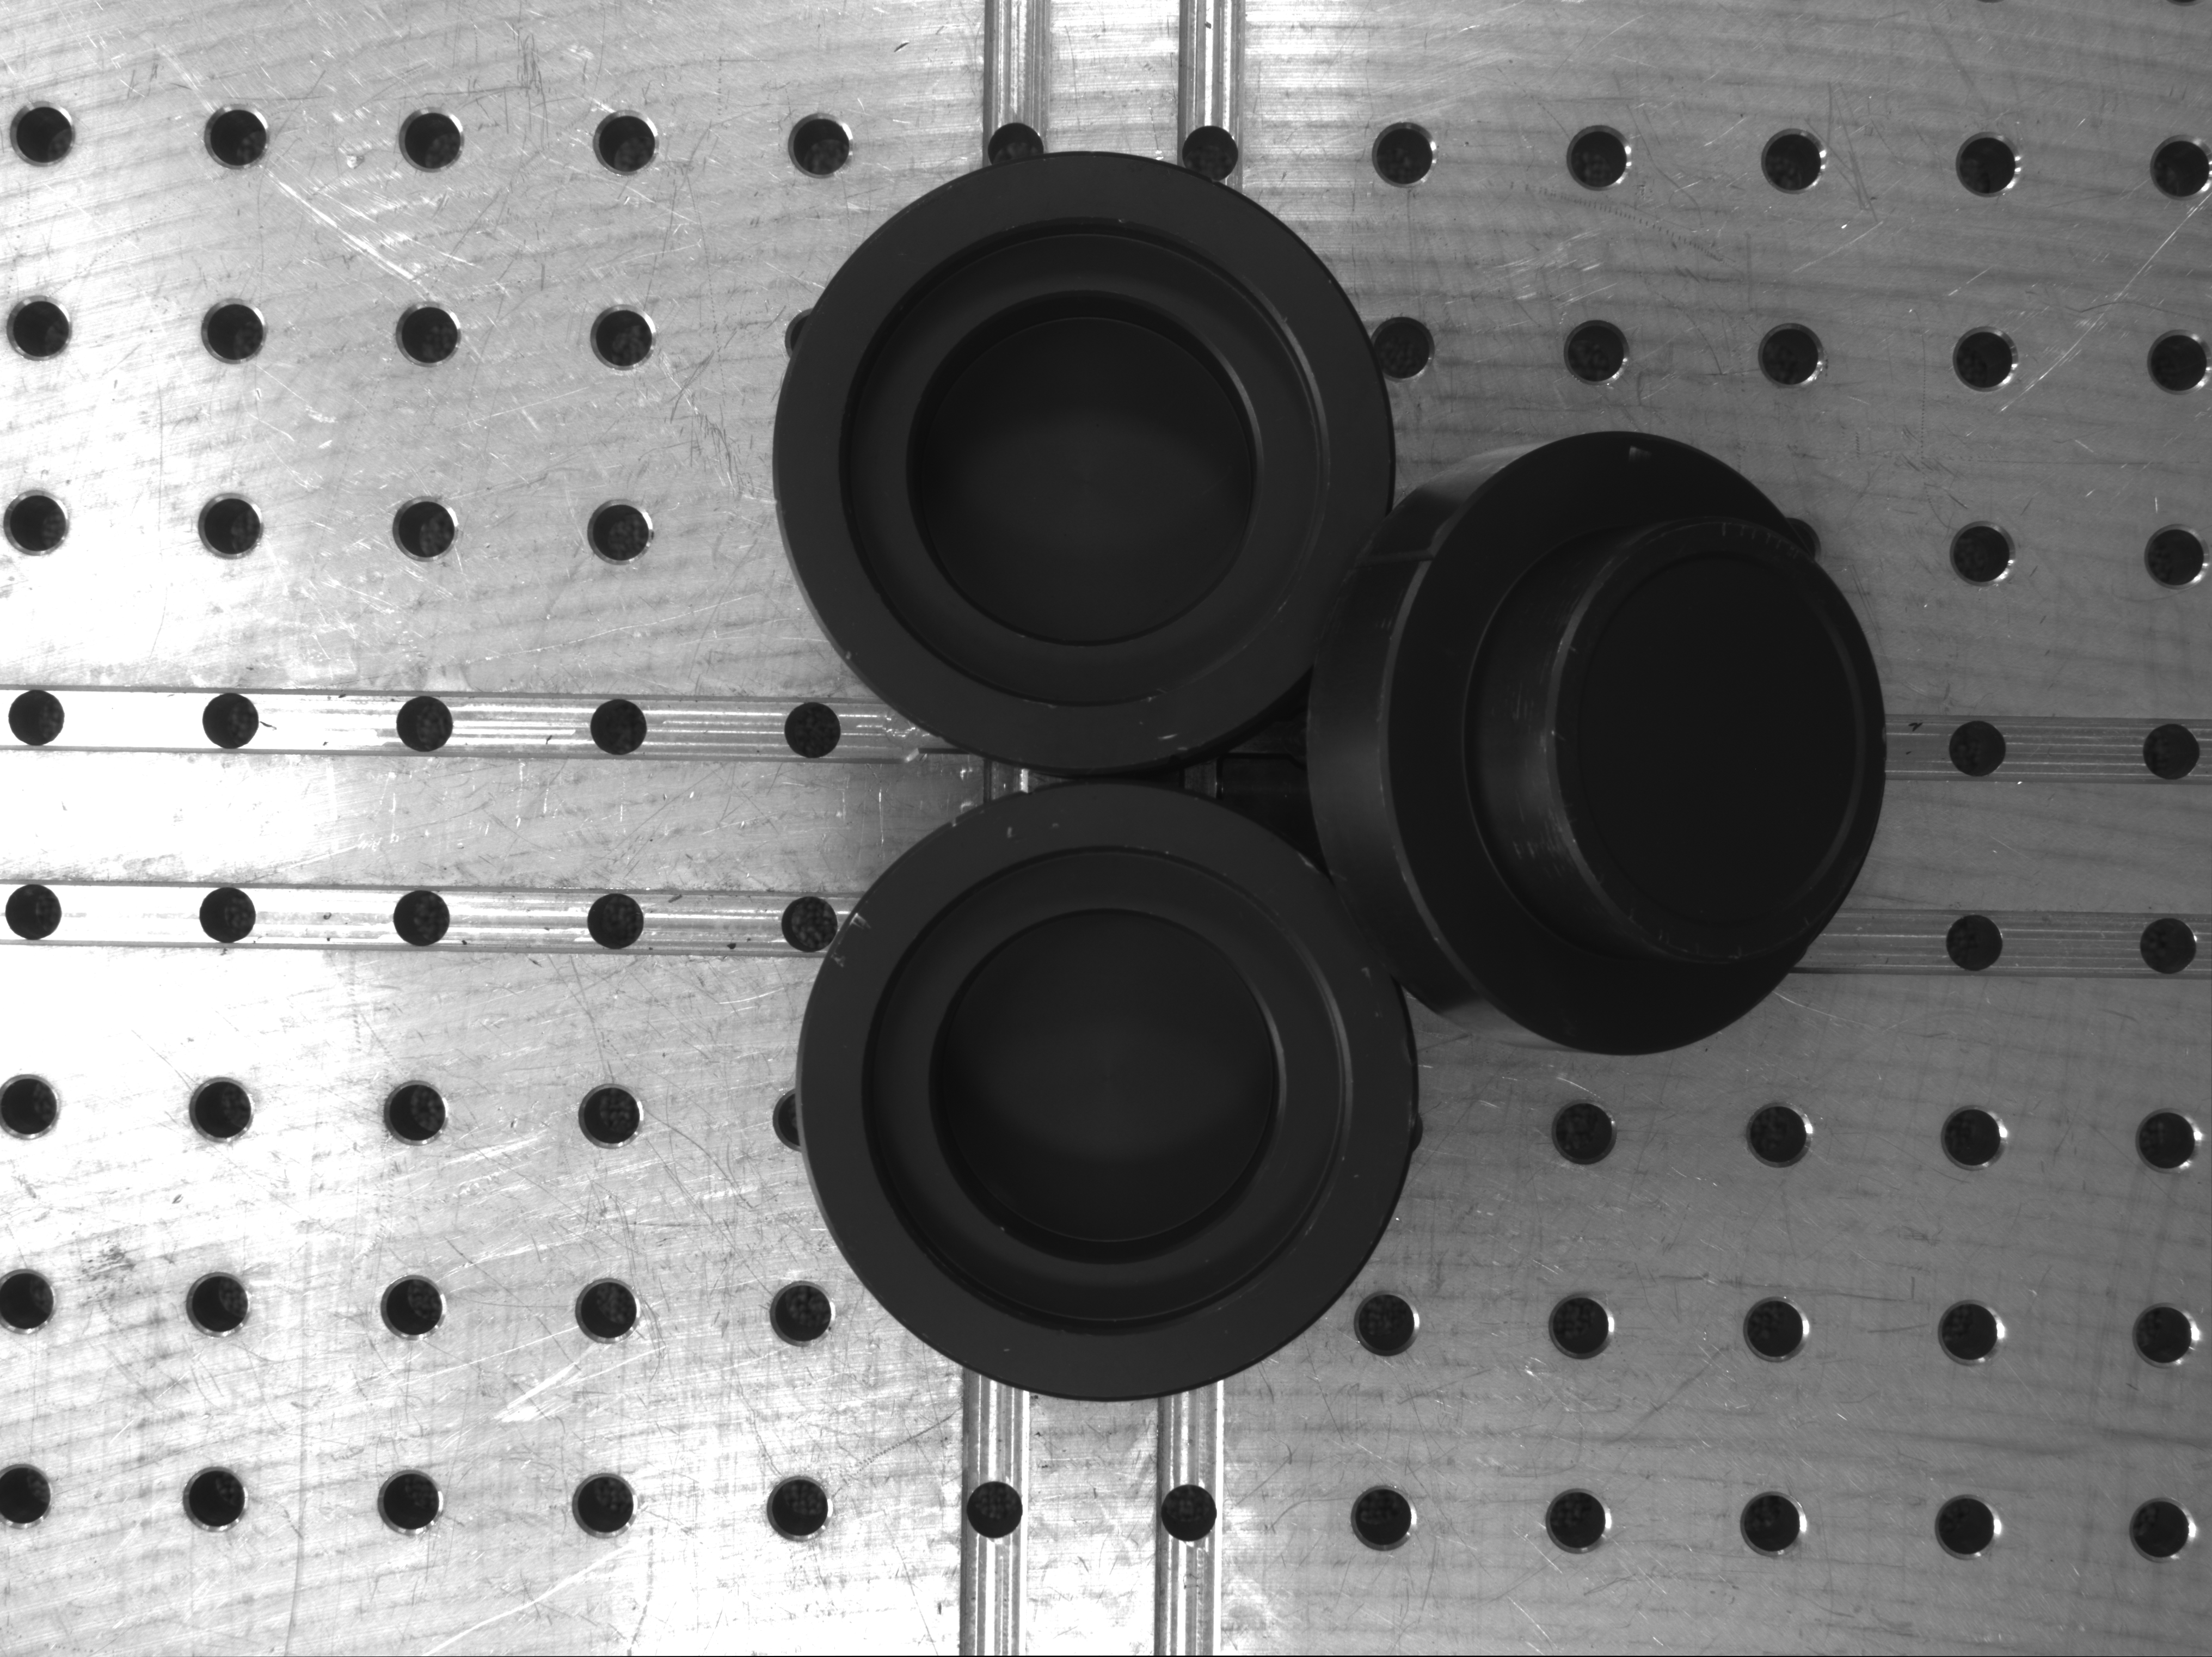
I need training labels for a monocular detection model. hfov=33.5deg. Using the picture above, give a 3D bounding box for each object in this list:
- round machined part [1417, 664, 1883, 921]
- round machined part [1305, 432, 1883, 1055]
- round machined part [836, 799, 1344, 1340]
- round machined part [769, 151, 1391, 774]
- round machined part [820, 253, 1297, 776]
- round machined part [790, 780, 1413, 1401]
[{"bbox_3d":[0.087,-0.014,0.640,0.098,0.042,0.098,0,90,0],"label":"round machined part"},{"bbox_3d":[0.083,-0.013,0.576,0.098,0.042,0.098,0,89,-32],"label":"round machined part"},{"bbox_3d":[-0.001,0.041,0.640,0.098,0.042,0.098,0,90,0],"label":"round machined part"},{"bbox_3d":[-0.004,-0.057,0.597,0.098,0.042,0.098,0,90,0],"label":"round machined part"},{"bbox_3d":[-0.002,-0.058,0.641,0.098,0.042,0.098,0,90,0],"label":"round machined part"},{"bbox_3d":[-0.001,0.041,0.597,0.098,0.042,0.098,0,90,0],"label":"round machined part"}]
